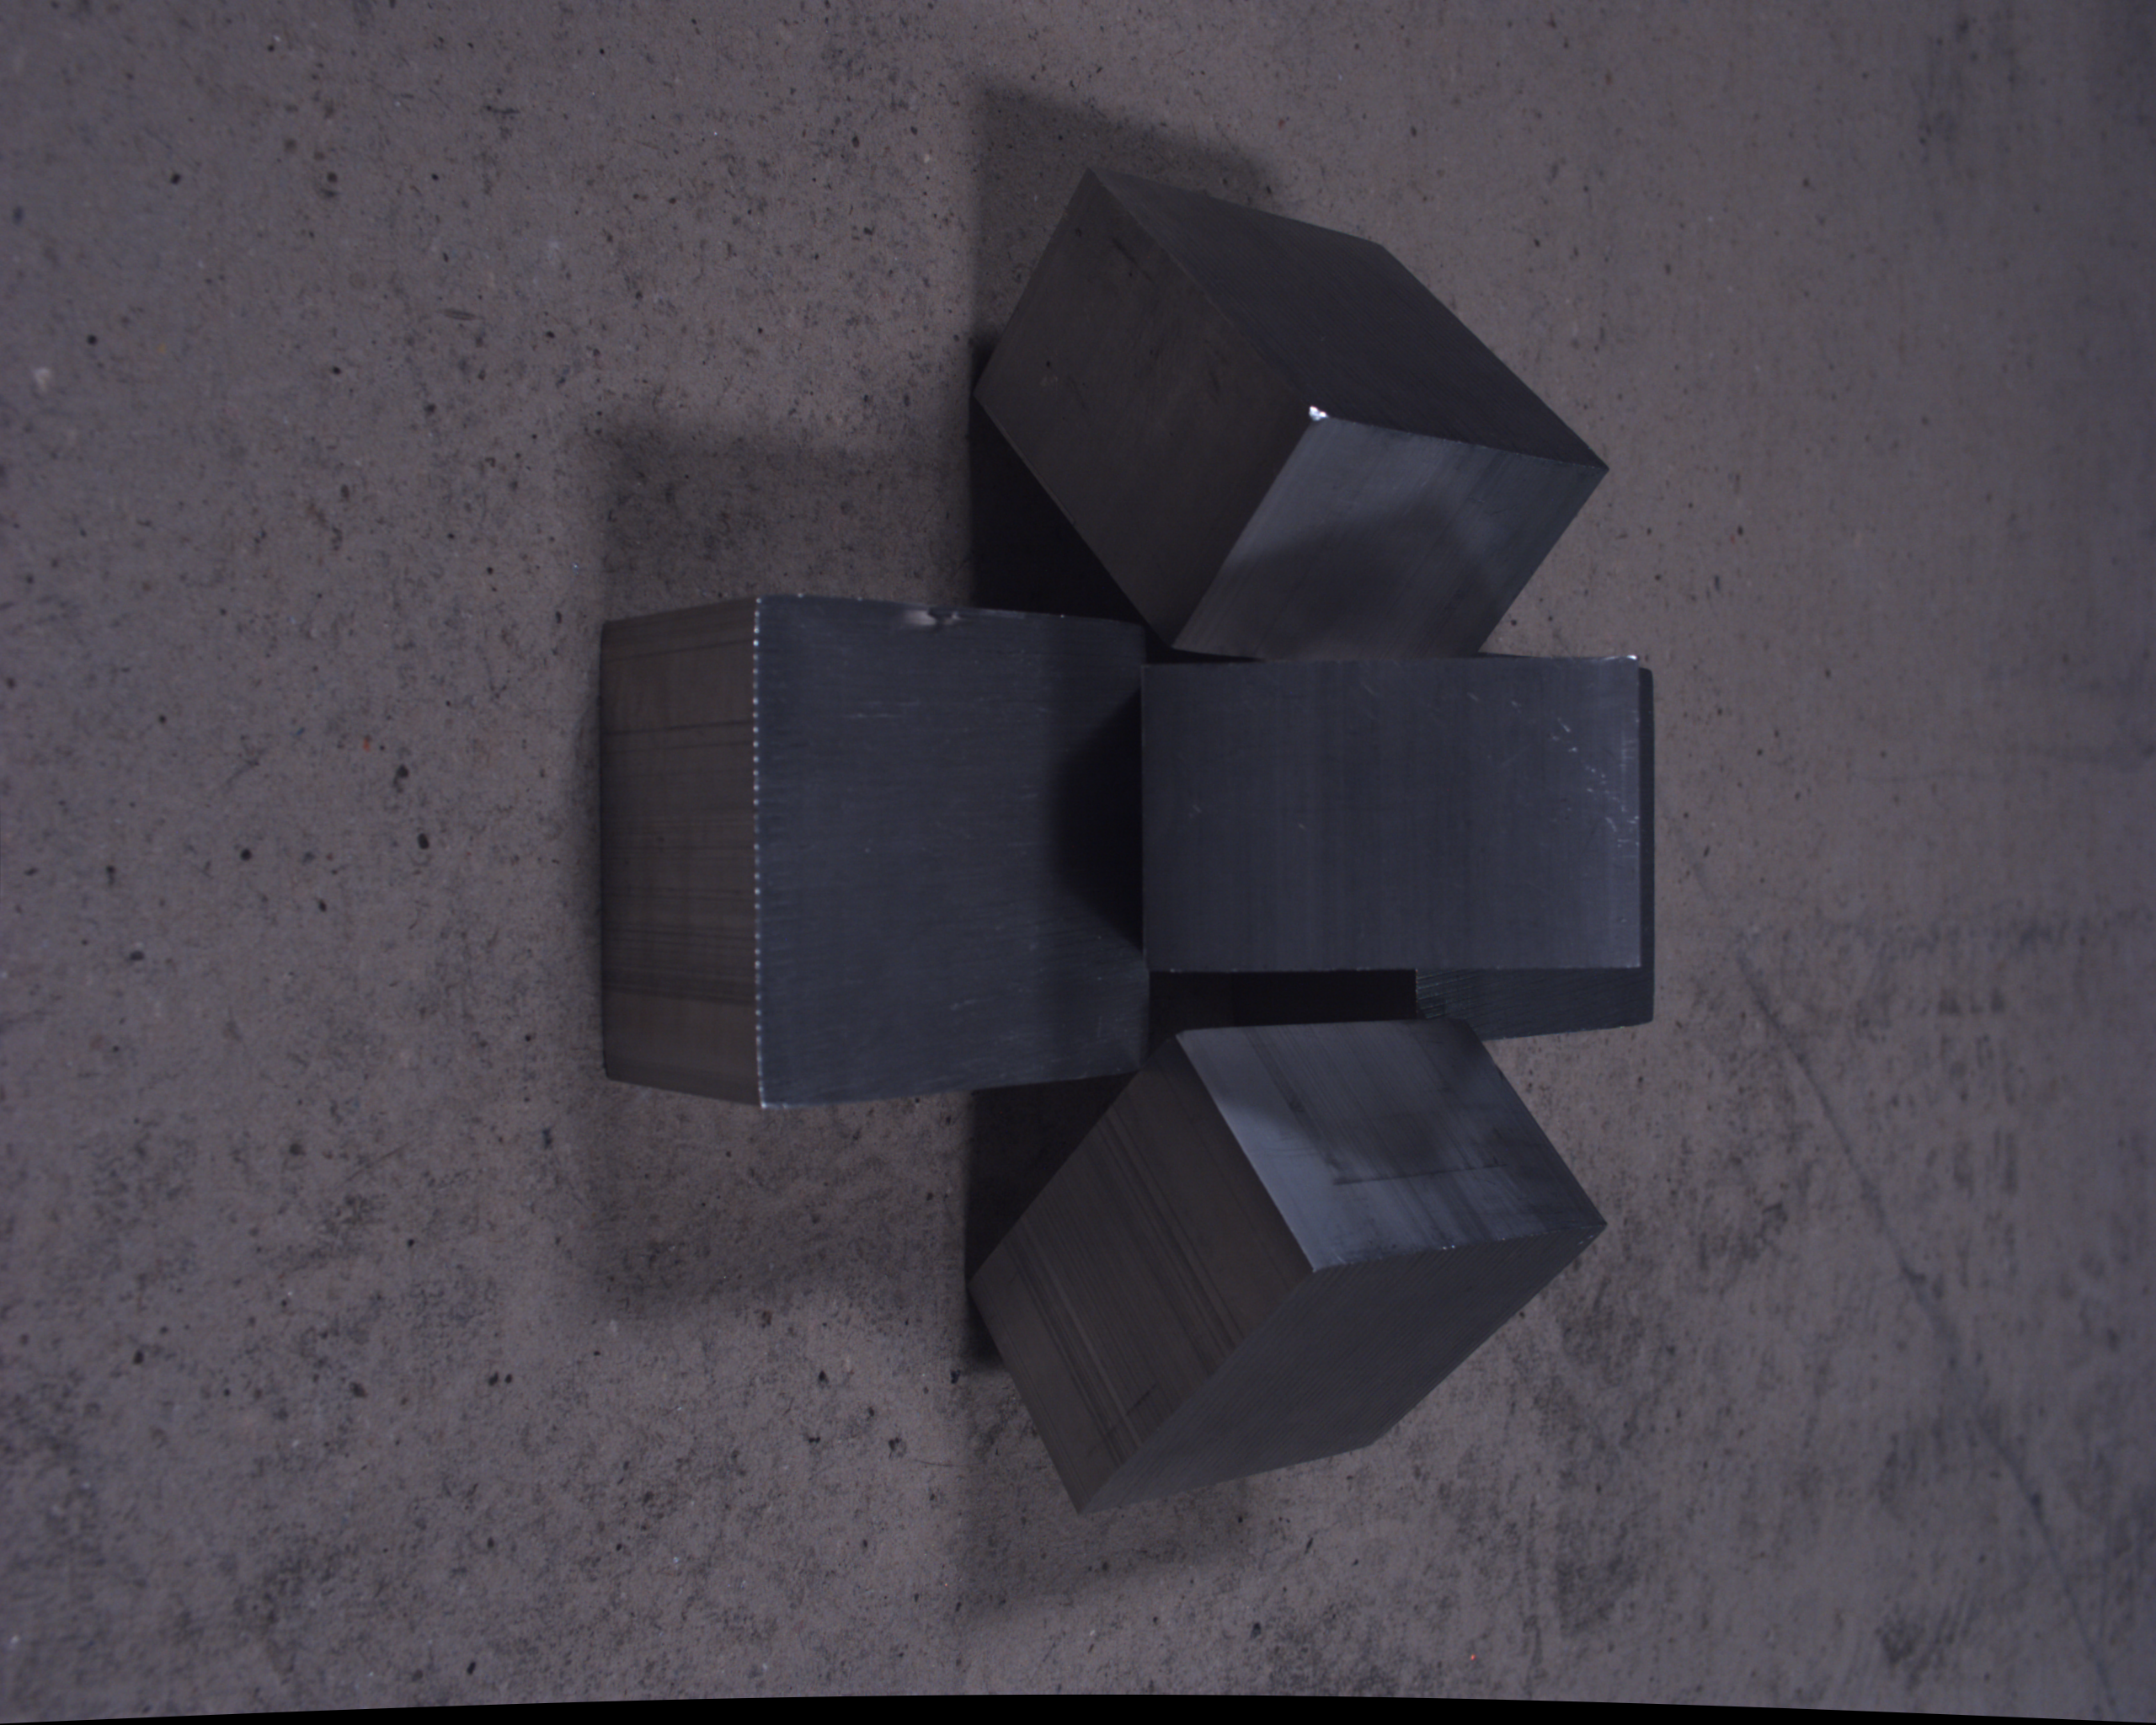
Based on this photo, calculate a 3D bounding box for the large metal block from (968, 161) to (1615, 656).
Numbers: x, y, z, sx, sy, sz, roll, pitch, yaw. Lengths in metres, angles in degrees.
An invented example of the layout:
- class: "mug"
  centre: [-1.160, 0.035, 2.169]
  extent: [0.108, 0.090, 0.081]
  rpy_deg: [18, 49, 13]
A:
- class: "large metal block"
  centre: [0.039, -0.083, 0.398]
  extent: [0.081, 0.080, 0.050]
  rpy_deg: [0, 134, -40]

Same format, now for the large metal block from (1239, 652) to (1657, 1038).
- class: "large metal block"
  centre: [0.082, -0.004, 0.458]
  extent: [0.081, 0.050, 0.079]
  rpy_deg: [0, 90, -40]

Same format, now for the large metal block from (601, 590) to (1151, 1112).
- class: "large metal block"
  centre: [-0.034, -0.002, 0.363]
  extent: [0.081, 0.050, 0.079]
  rpy_deg: [-1, 91, -40]

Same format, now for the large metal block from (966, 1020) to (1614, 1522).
- class: "large metal block"
  centre: [0.039, 0.076, 0.397]
  extent: [0.081, 0.080, 0.050]
  rpy_deg: [2, 46, -39]

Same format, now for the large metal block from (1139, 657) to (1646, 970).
- class: "large metal block"
  centre: [0.053, -0.008, 0.374]
  extent: [0.080, 0.080, 0.050]
  rpy_deg: [0, 91, 4]
